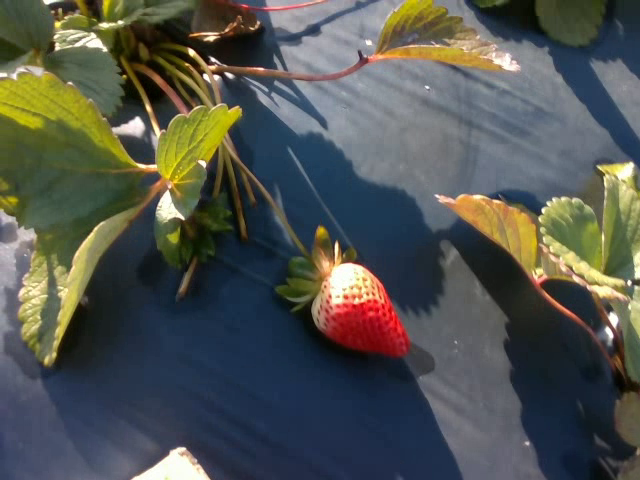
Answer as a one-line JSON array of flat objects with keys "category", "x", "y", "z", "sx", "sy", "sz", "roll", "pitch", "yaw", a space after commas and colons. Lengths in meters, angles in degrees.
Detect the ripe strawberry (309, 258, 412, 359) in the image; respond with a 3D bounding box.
[{"category": "ripe strawberry", "x": 0.022, "y": 0.034, "z": 0.287, "sx": 0.063, "sy": 0.045, "sz": 0.043, "roll": 35, "pitch": 28, "yaw": 11}]
